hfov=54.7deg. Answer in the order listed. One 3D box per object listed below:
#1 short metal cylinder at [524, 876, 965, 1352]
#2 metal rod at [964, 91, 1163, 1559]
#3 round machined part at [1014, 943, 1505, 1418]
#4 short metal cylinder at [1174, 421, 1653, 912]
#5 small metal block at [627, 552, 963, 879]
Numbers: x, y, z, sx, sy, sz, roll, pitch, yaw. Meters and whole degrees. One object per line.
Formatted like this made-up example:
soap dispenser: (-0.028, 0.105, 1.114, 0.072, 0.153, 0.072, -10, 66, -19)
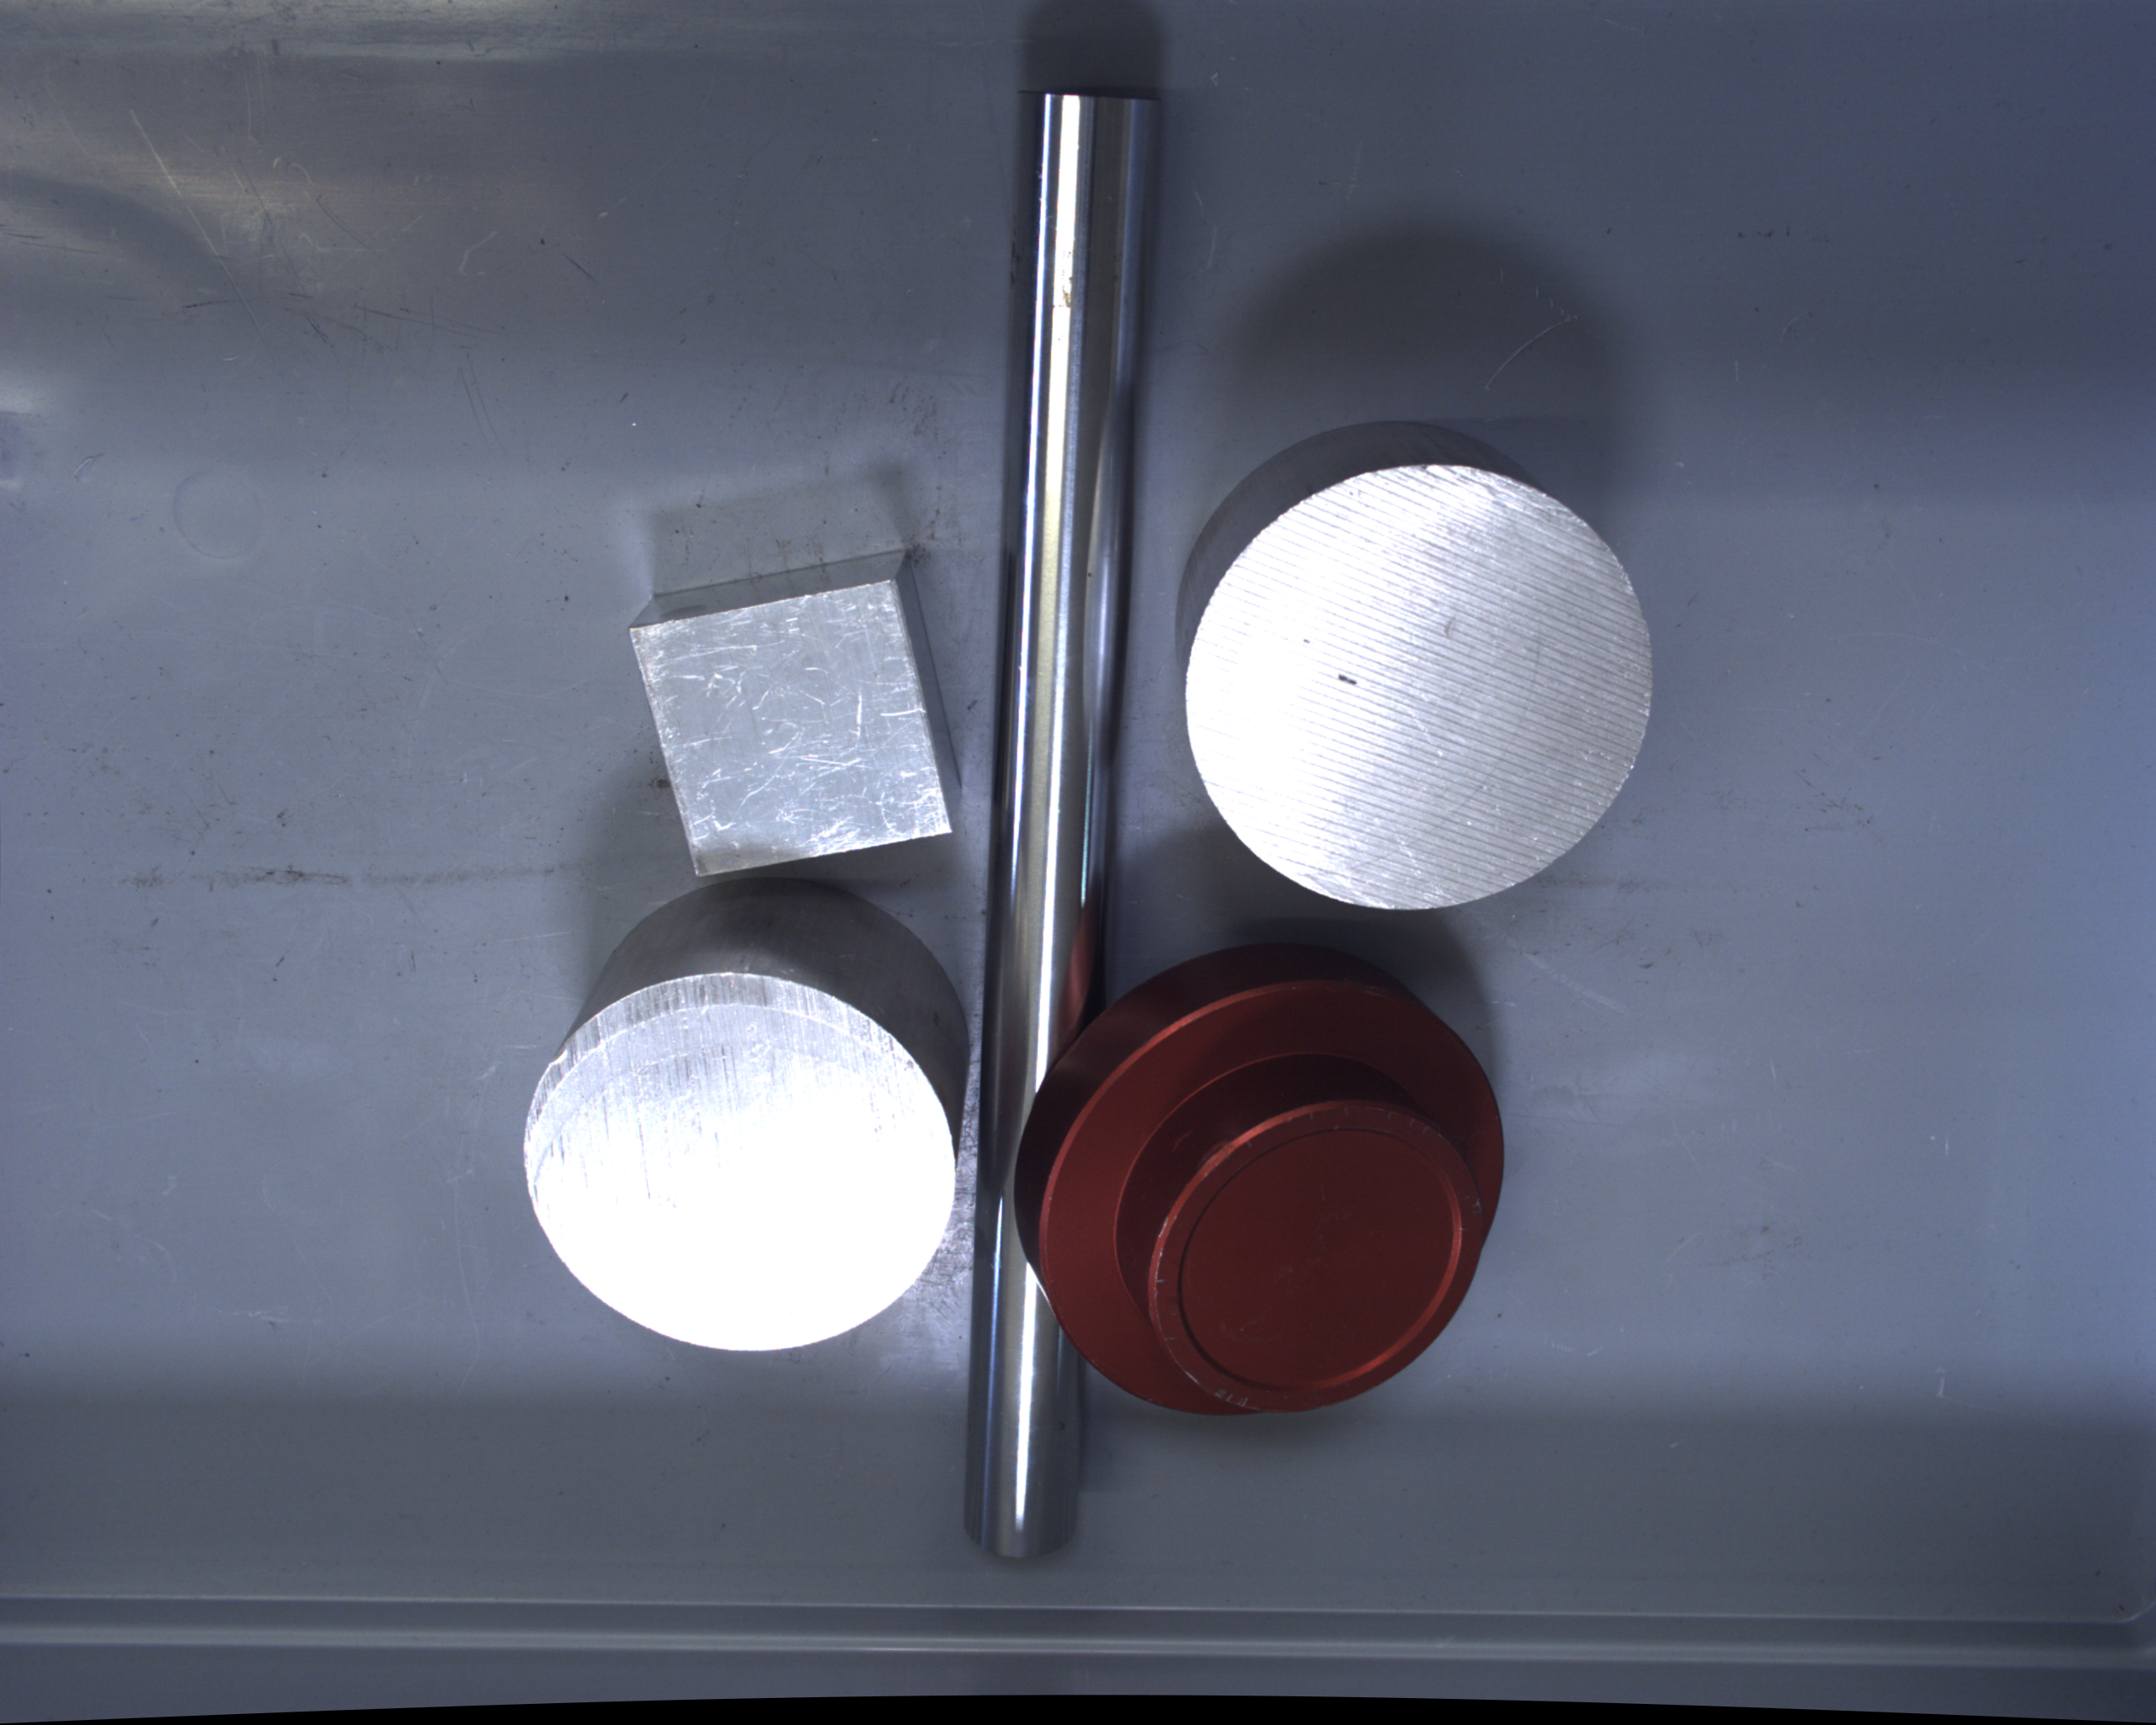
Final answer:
short metal cylinder: (-0.063, 0.049, 0.413, 0.081, 0.050, 0.079, 0, 110, 0)
metal rod: (-0.005, 0.007, 0.411, 0.025, 0.025, 0.298, 3, 110, -1)
round machined part: (0.040, 0.069, 0.413, 0.099, 0.042, 0.097, -6, 110, -15)
short metal cylinder: (0.059, -0.037, 0.382, 0.081, 0.050, 0.079, 0, 110, 0)
small metal block: (-0.053, -0.028, 0.398, 0.050, 0.025, 0.050, -11, 110, 3)
